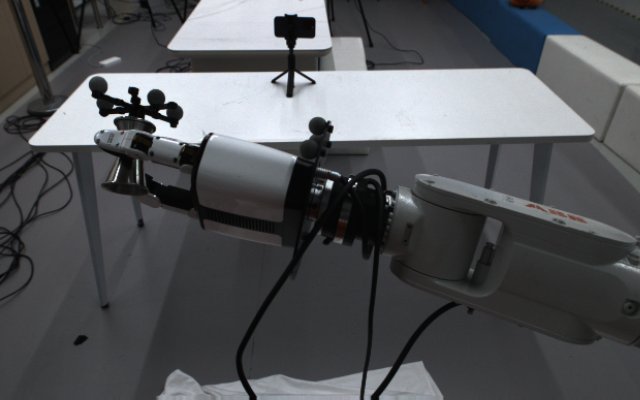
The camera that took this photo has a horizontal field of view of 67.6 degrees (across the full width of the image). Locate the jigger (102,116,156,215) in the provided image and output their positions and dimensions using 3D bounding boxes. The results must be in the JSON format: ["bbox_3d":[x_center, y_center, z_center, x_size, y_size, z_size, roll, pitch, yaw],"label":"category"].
[{"bbox_3d":[-0.186,-0.043,0.477,0.043,0.043,0.071,3,76,1],"label":"jigger"}]
